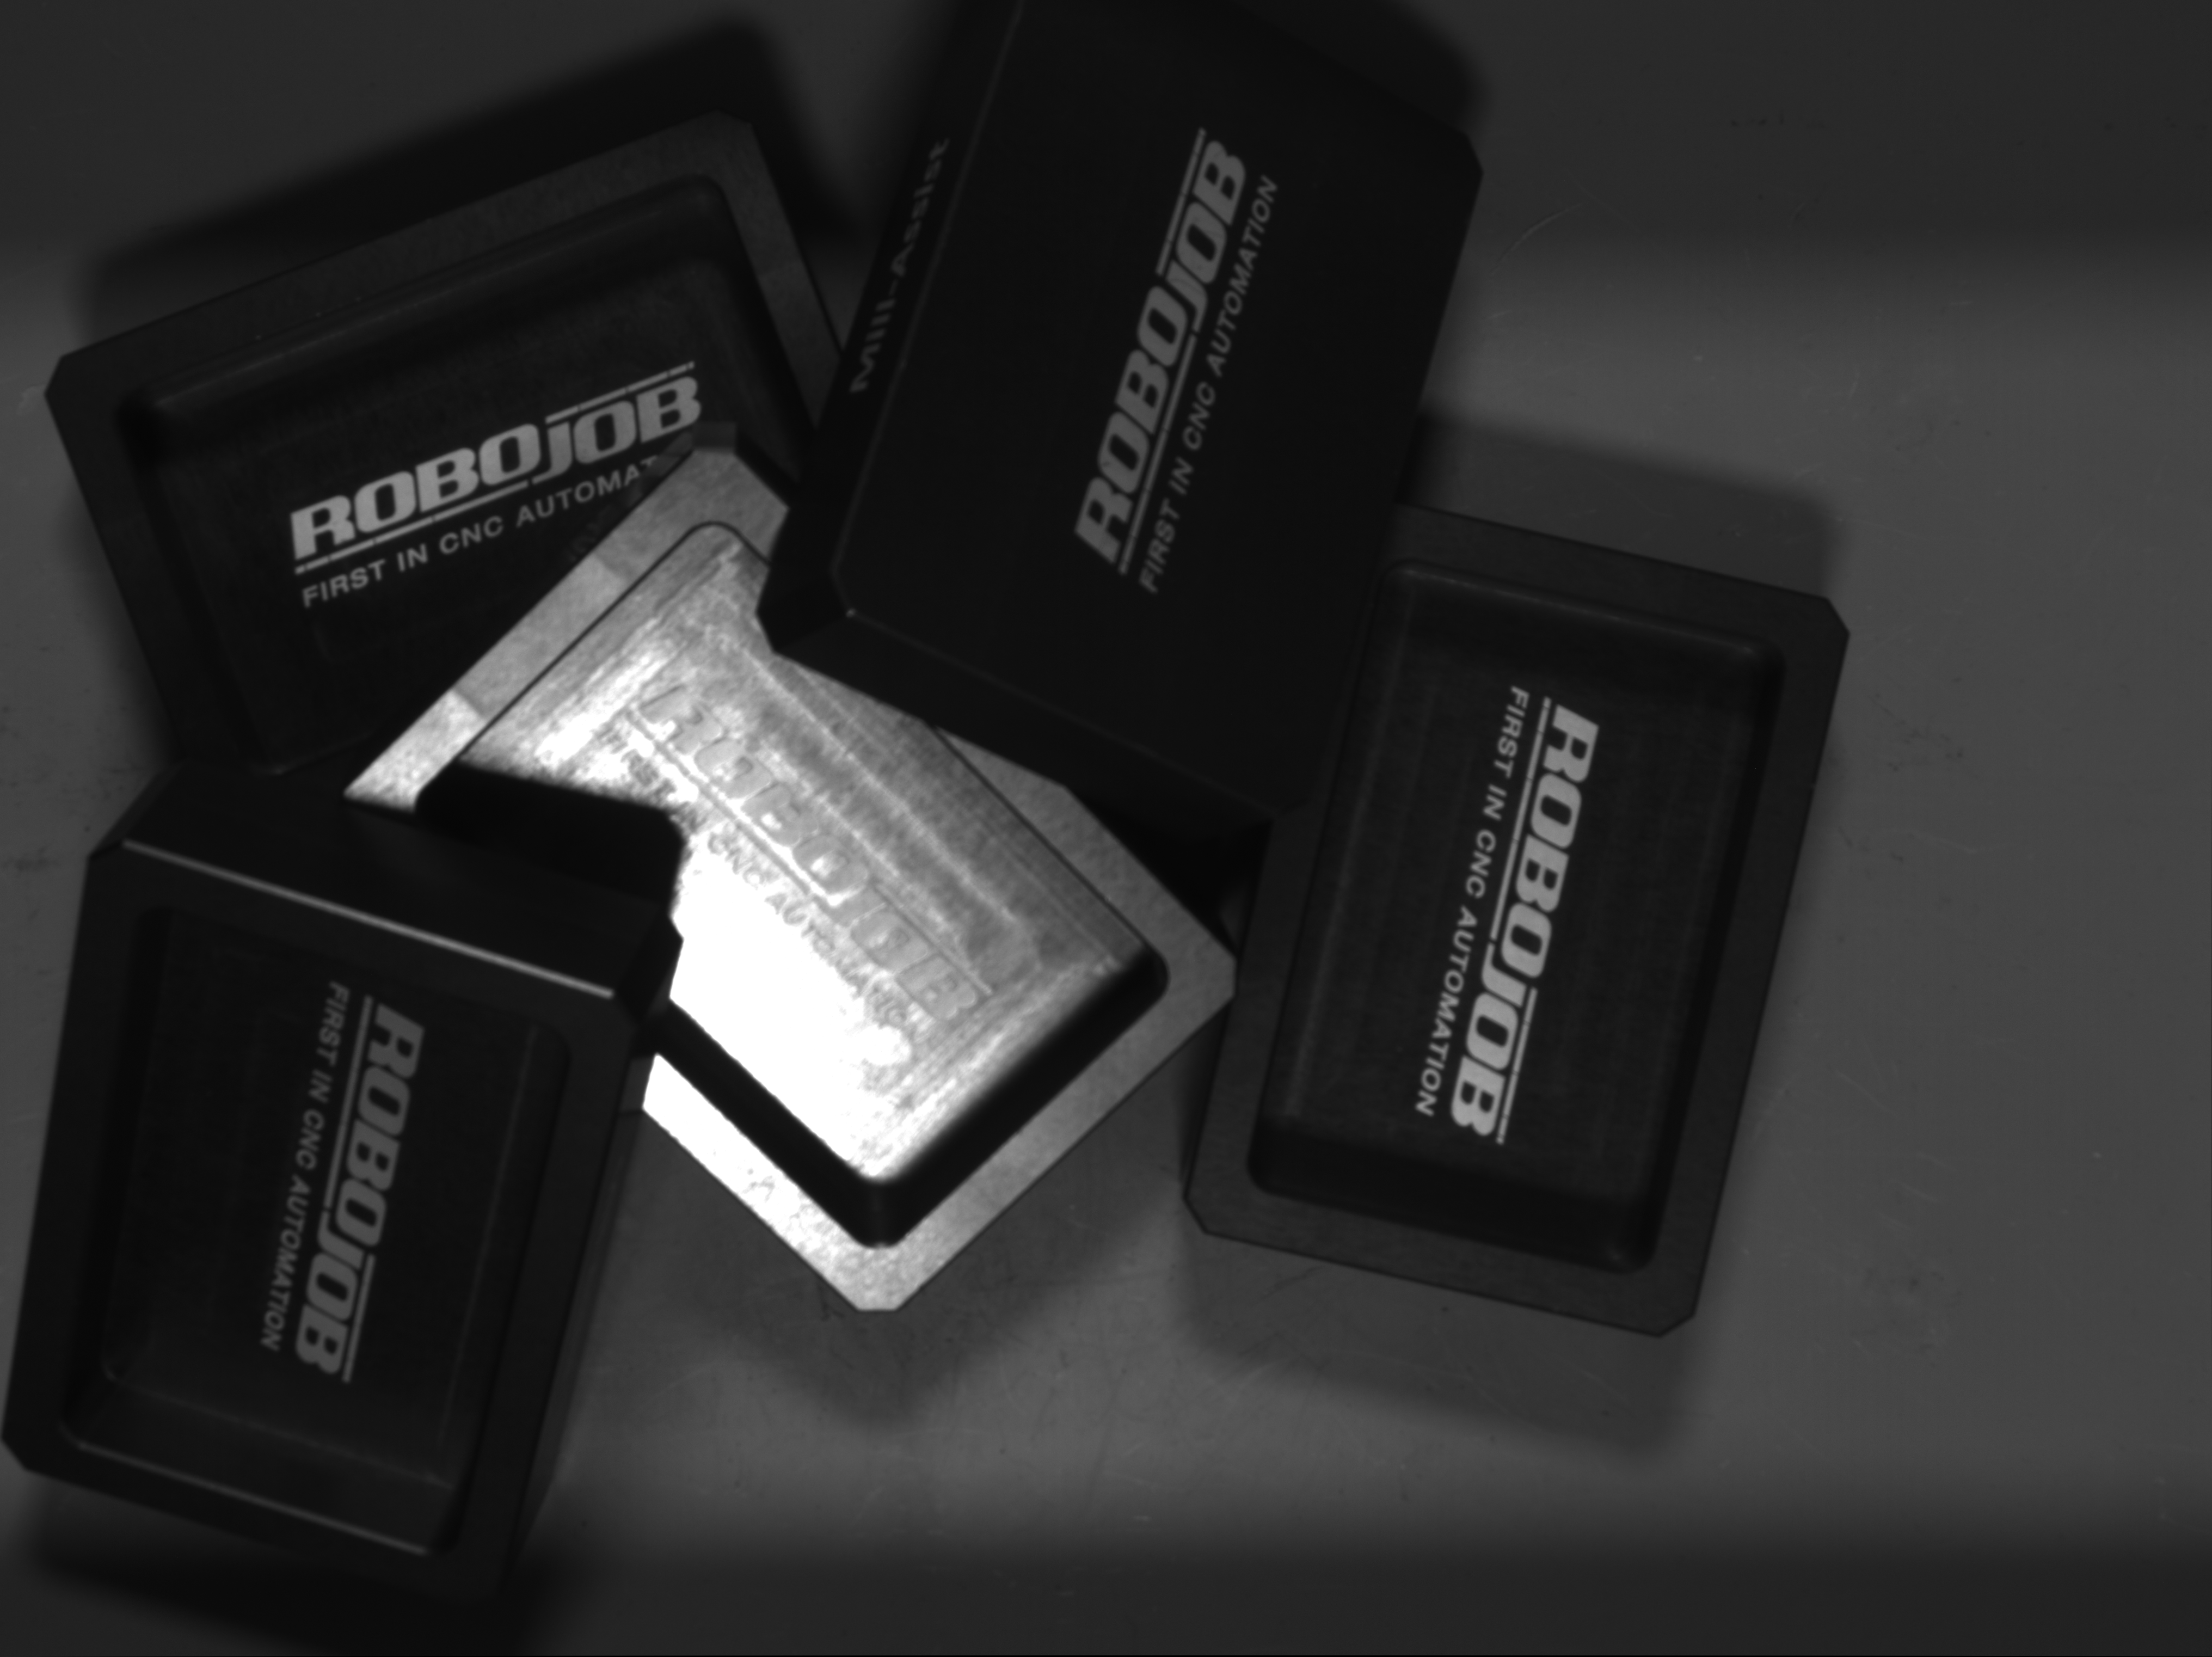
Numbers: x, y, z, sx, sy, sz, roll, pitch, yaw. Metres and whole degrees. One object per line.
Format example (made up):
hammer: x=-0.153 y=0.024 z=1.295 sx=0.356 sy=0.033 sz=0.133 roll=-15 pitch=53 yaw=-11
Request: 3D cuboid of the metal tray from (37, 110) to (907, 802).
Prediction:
metal tray: x=-0.108 y=-0.060 z=0.640 sx=0.130 sy=0.030 sz=0.090 roll=-21 pitch=90 yaw=-1

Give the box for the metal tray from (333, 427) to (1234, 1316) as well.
metal tray: x=-0.053 y=0.008 z=0.619 sx=0.090 sy=0.030 sz=0.130 roll=-43 pitch=105 yaw=6

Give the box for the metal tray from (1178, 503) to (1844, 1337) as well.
metal tray: x=0.070 y=0.015 z=0.642 sx=0.090 sy=0.030 sz=0.130 roll=13 pitch=90 yaw=0

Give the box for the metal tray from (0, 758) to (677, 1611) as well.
metal tray: x=-0.130 y=0.062 z=0.611 sx=0.090 sy=0.030 sz=0.130 roll=17 pitch=118 yaw=0

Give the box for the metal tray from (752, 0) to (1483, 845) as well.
metal tray: x=0.004 y=-0.074 z=0.607 sx=0.090 sy=0.030 sz=0.130 roll=25 pitch=70 yaw=-23
